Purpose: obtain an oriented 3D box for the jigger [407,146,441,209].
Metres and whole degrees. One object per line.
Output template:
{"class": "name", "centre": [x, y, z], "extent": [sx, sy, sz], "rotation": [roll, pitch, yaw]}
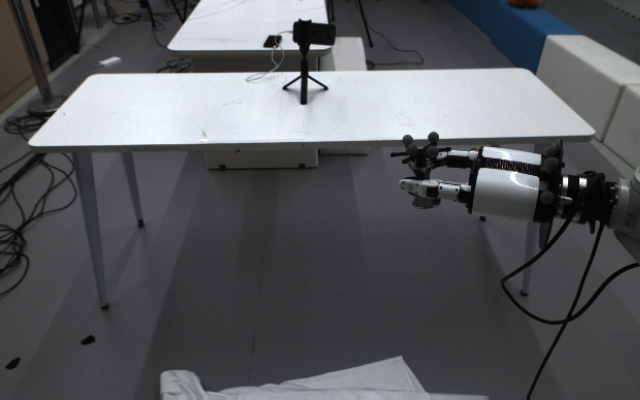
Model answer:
{"class": "jigger", "centre": [0.161, -0.029, 0.751], "extent": [0.043, 0.071, 0.043], "rotation": [-11, 23, 5]}
